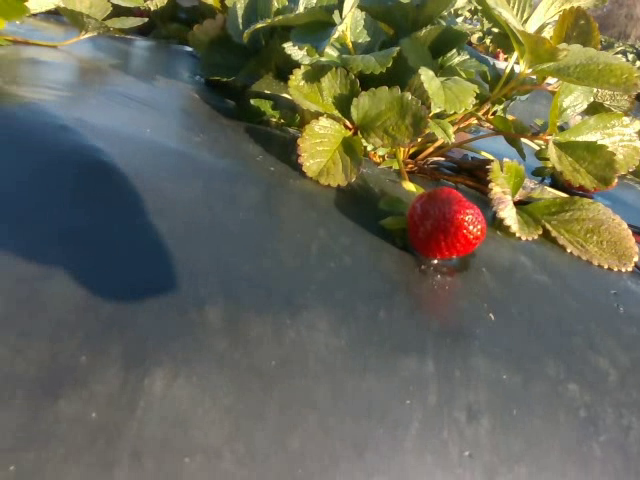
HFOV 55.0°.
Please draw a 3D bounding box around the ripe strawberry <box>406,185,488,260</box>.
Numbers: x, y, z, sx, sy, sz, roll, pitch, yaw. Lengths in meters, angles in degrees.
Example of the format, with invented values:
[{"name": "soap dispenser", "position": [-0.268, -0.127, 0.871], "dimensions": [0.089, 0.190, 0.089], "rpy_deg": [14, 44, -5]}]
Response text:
[{"name": "ripe strawberry", "position": [0.041, -0.006, 0.195], "dimensions": [0.028, 0.031, 0.041], "rpy_deg": [-10, -4, -8]}]
